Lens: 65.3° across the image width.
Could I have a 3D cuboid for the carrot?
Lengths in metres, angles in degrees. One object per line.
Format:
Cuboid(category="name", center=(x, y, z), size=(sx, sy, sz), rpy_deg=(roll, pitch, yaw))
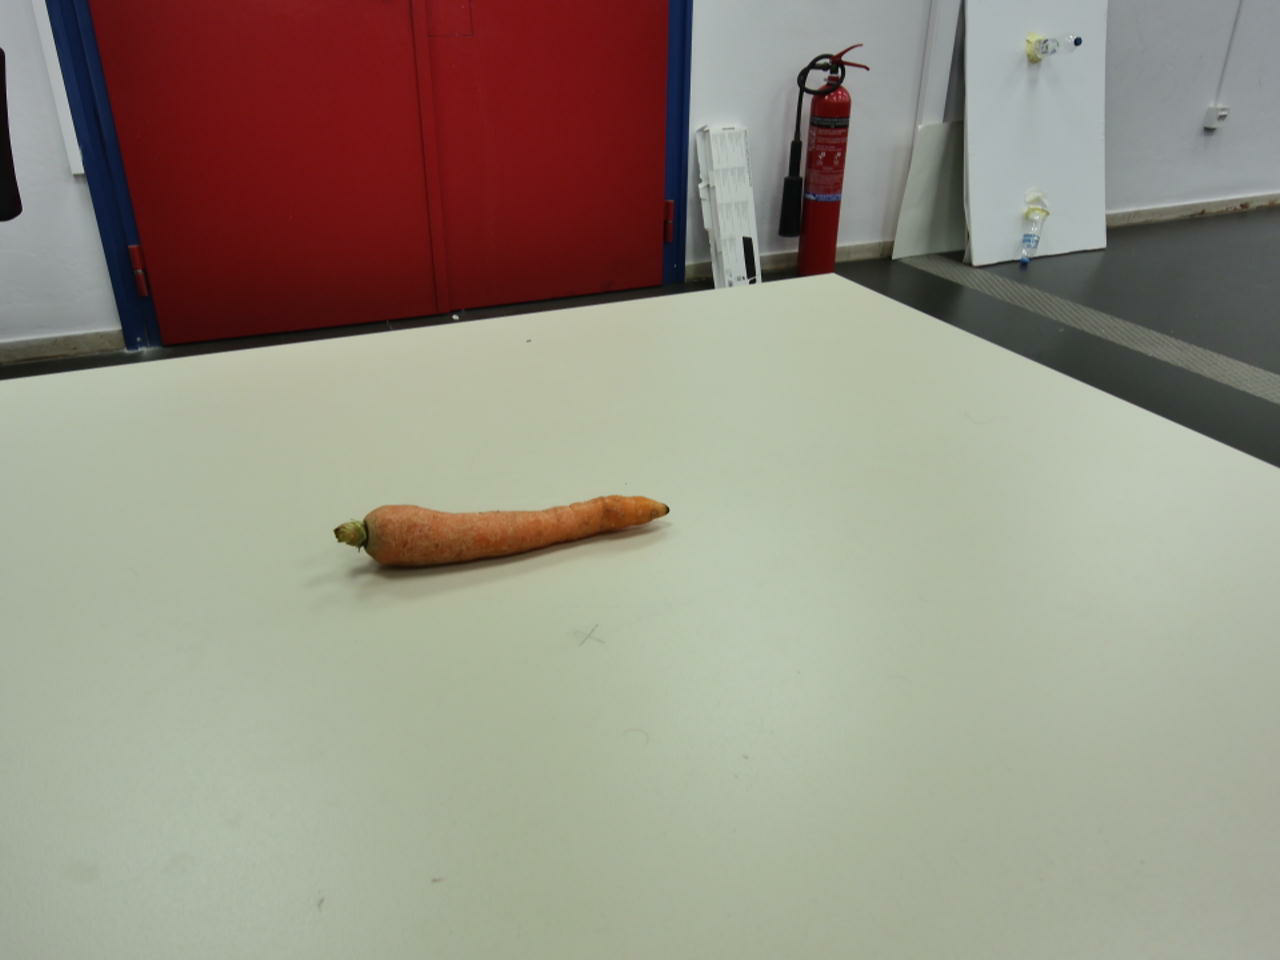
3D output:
Cuboid(category="carrot", center=(-0.065, 0.022, 0.506), size=(0.173, 0.032, 0.030), rpy_deg=(-7, 26, -15))
